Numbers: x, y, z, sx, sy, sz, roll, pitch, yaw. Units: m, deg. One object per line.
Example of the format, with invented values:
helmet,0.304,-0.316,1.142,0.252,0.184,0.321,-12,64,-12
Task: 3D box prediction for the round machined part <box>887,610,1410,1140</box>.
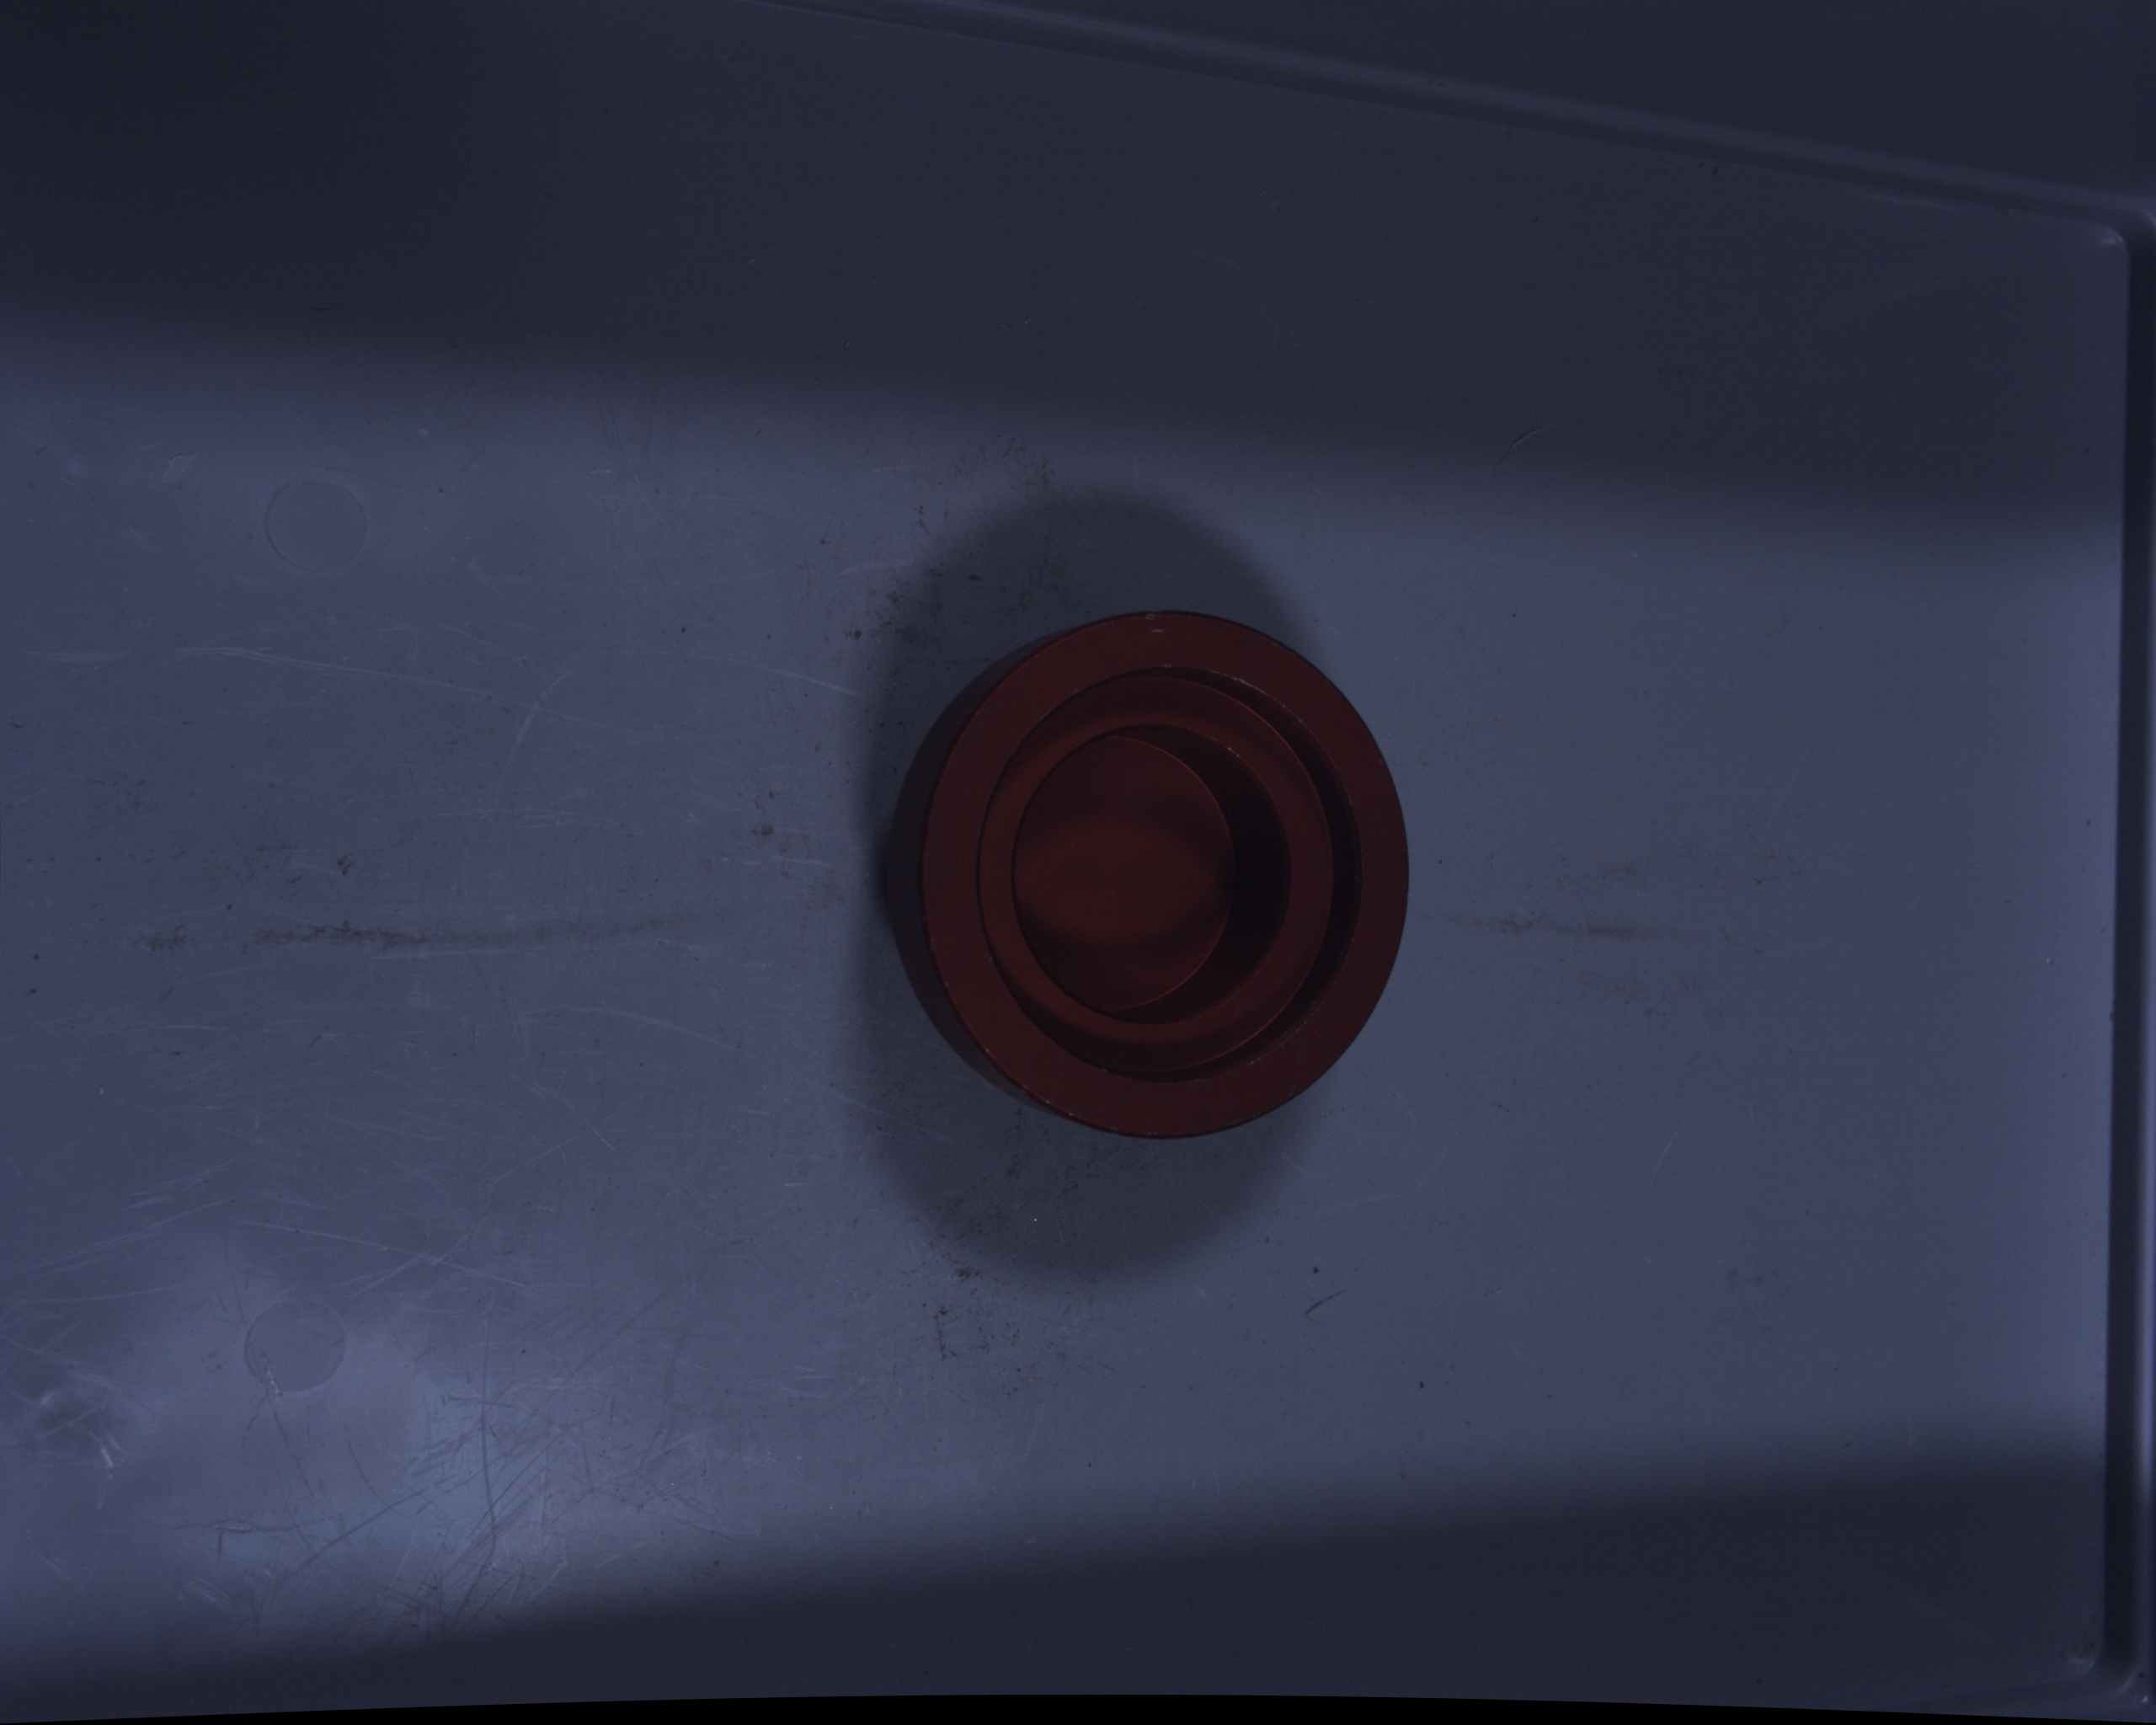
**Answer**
round machined part,0.011,0.002,0.403,0.099,0.042,0.097,0,90,-21
